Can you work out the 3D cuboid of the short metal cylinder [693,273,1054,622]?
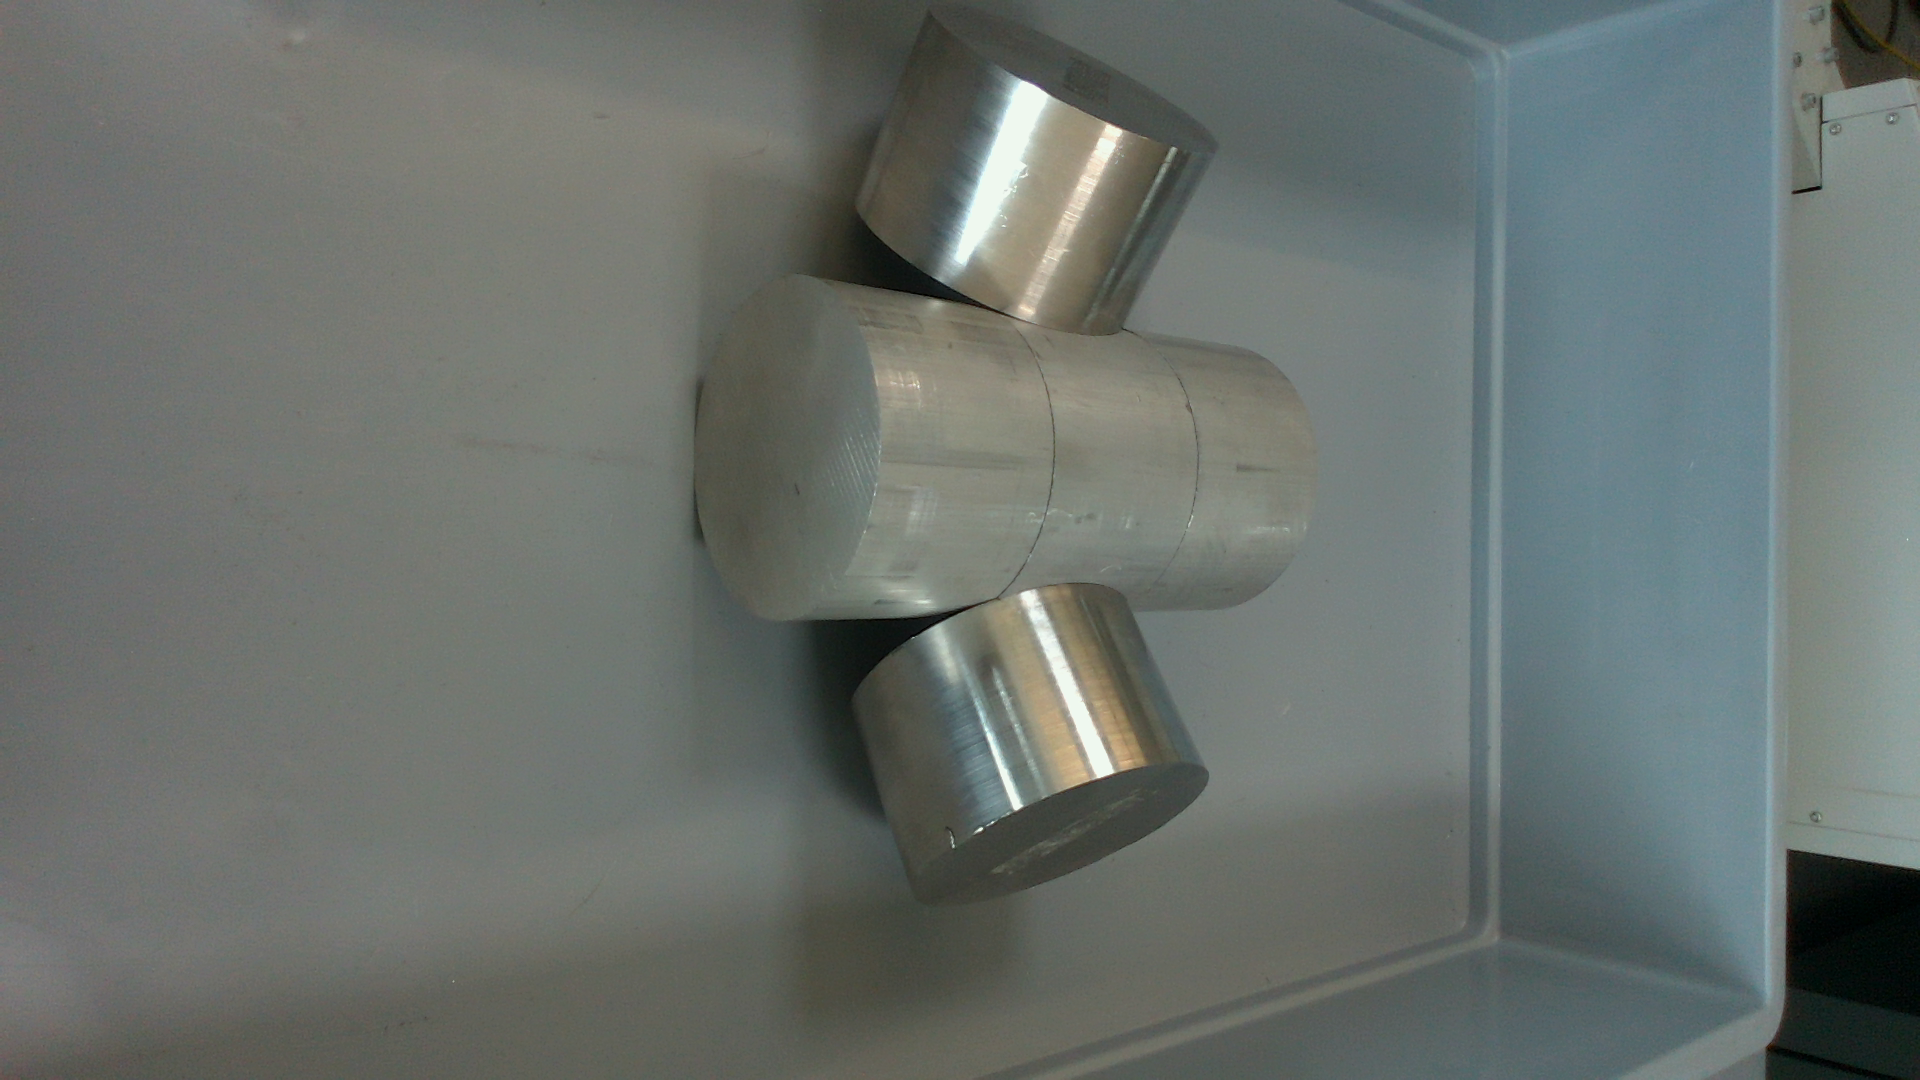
[{"bbox_3d":[-0.023,-0.021,0.333,0.050,0.080,0.080,2,89,-39],"label":"short metal cylinder"}]

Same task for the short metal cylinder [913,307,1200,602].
[{"bbox_3d":[0.016,-0.020,0.365,0.050,0.080,0.080,2,89,-39],"label":"short metal cylinder"}]

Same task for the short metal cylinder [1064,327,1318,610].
[{"bbox_3d":[0.055,-0.019,0.397,0.050,0.080,0.080,2,89,-39],"label":"short metal cylinder"}]

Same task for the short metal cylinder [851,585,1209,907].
[{"bbox_3d":[0.017,0.054,0.356,0.080,0.080,0.050,0,56,-40],"label":"short metal cylinder"}]

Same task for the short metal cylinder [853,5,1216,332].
[{"bbox_3d":[0.019,-0.097,0.358,0.080,0.080,0.050,2,126,-40],"label":"short metal cylinder"}]
